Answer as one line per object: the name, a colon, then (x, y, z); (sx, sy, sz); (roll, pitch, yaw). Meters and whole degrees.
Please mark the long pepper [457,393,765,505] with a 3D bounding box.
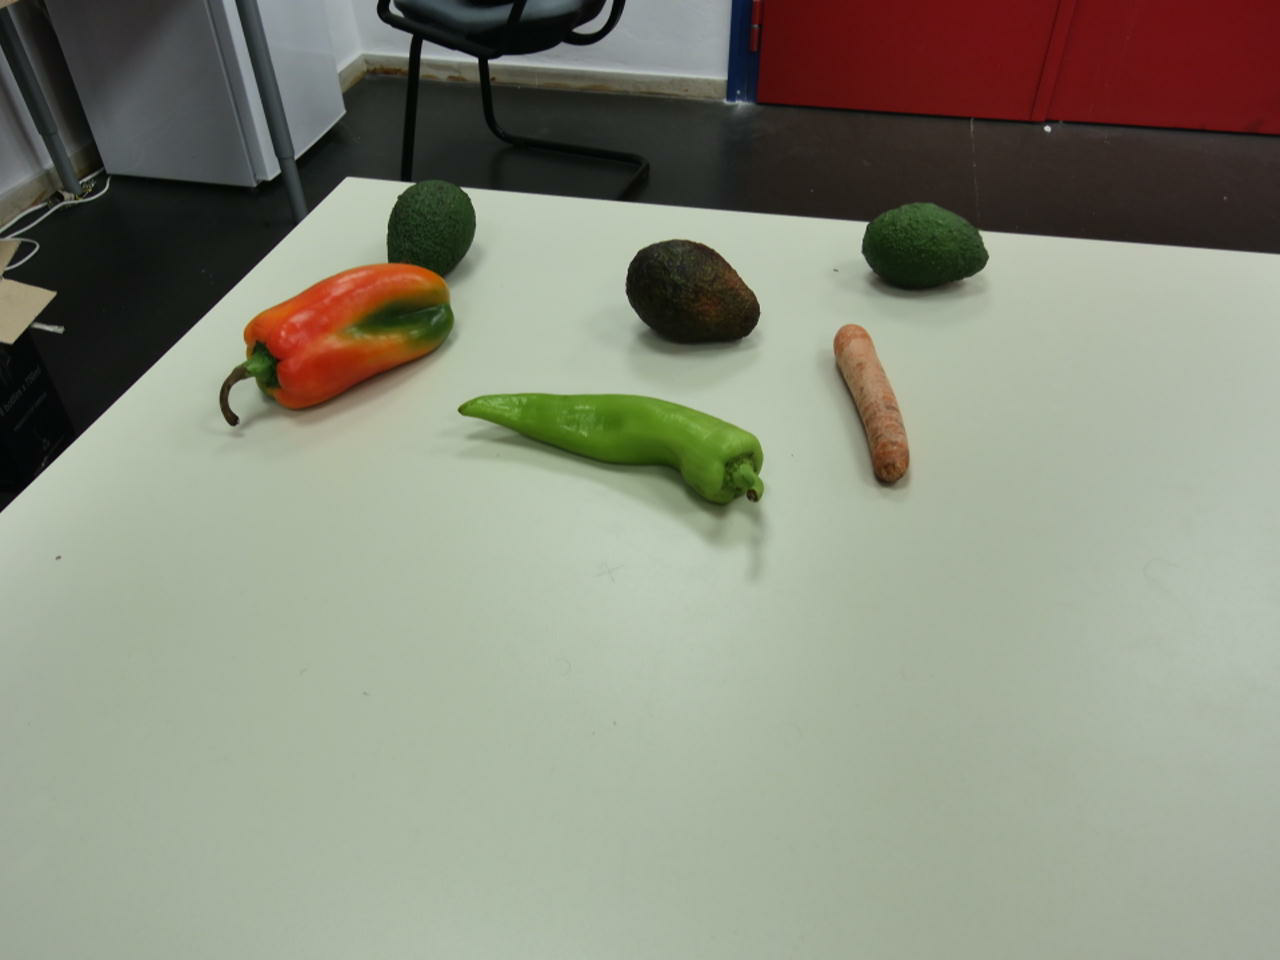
long pepper: (-0.009, -0.029, 0.611); (0.205, 0.045, 0.065); (19, 43, 22)
